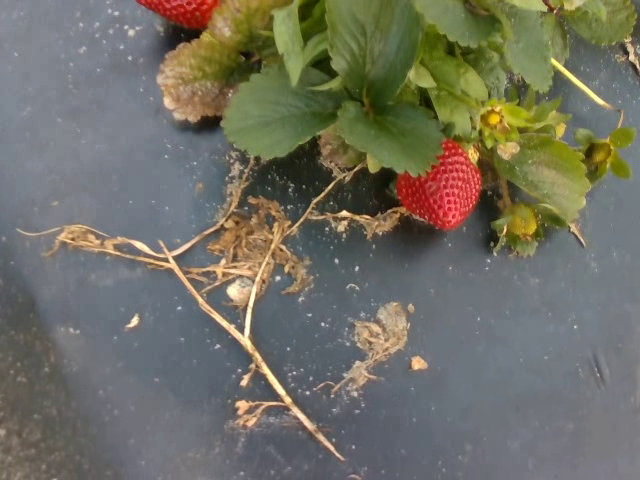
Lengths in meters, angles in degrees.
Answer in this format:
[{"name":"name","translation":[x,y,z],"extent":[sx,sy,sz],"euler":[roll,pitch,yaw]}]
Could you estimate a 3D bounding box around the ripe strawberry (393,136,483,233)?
[{"name":"ripe strawberry","translation":[0.056,-0.023,0.278],"extent":[0.043,0.046,0.047],"euler":[-11,-38,9]}]
